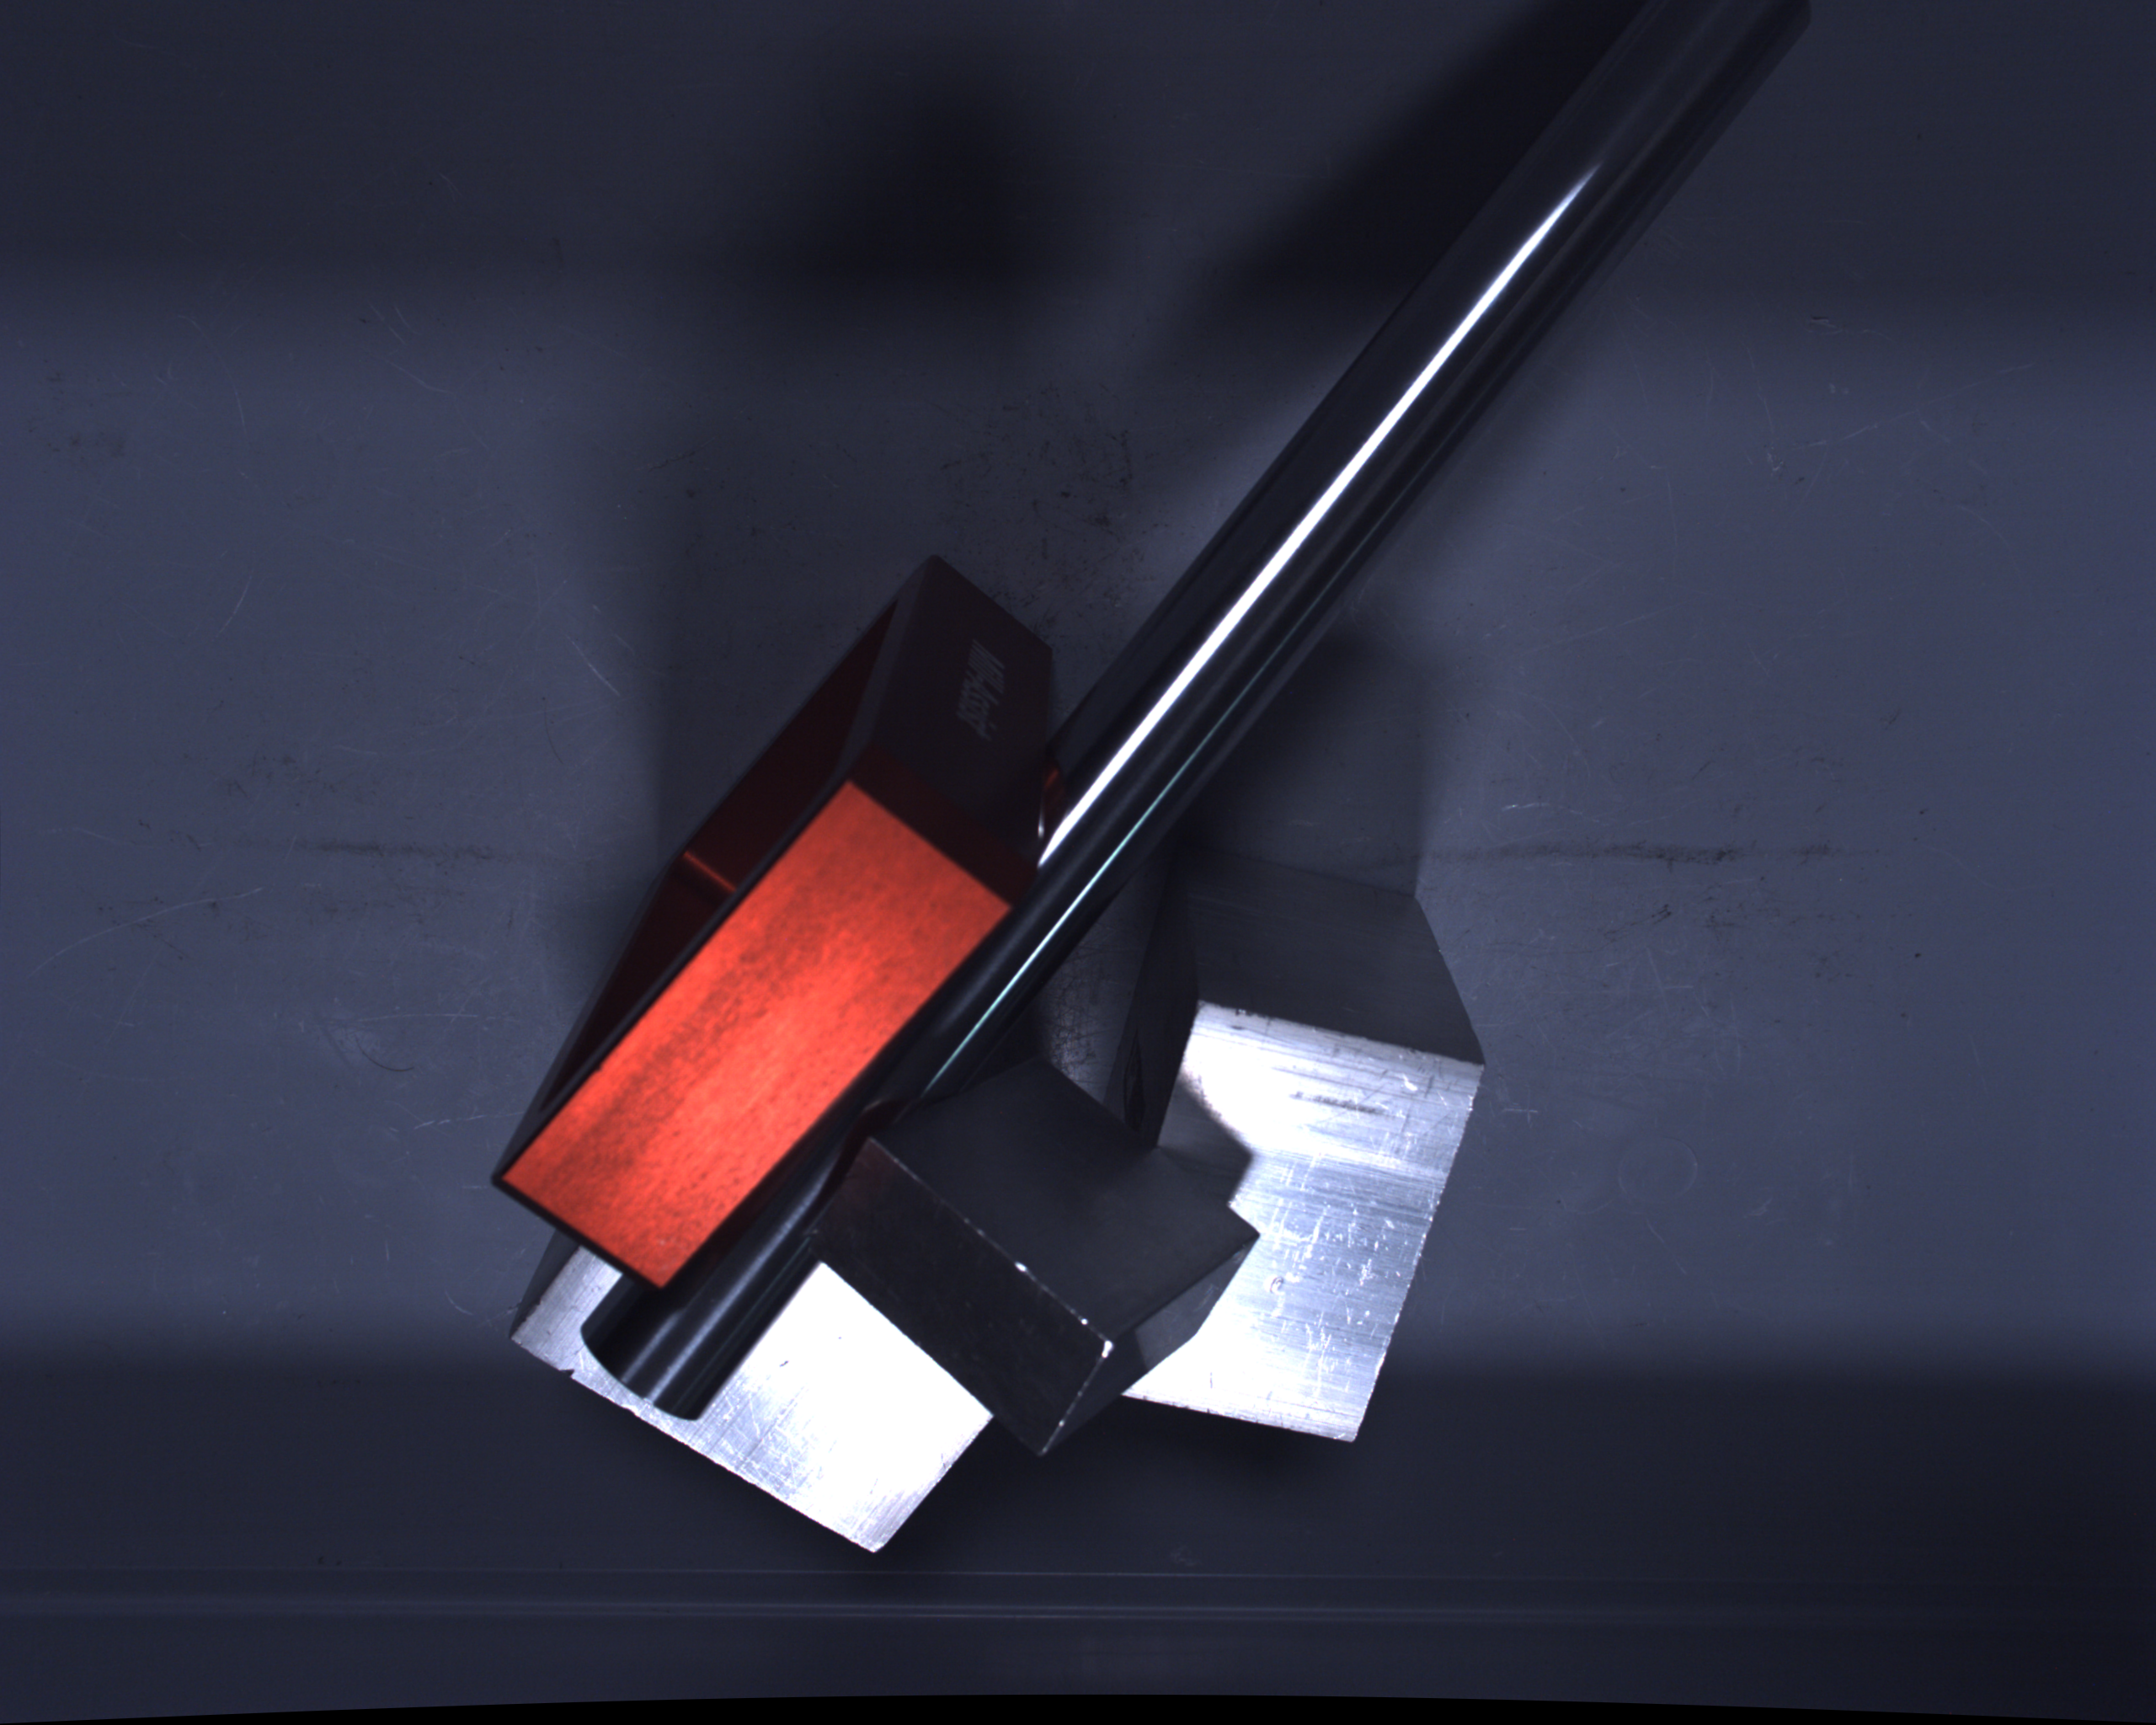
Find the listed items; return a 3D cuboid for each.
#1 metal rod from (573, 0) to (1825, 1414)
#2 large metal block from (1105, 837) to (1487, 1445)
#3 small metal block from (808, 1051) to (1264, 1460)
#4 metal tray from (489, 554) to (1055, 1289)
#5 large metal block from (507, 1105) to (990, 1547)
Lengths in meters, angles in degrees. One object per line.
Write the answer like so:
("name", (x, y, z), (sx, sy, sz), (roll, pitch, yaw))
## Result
("metal rod", (0.022, -0.033, 0.350), (0.025, 0.025, 0.300), (40, 88, -14))
("large metal block", (0.035, 0.050, 0.401), (0.050, 0.080, 0.079), (13, 110, -5))
("small metal block", (-0.006, 0.062, 0.340), (0.050, 0.050, 0.025), (38, 117, 19))
("metal tray", (-0.045, 0.003, 0.354), (0.030, 0.130, 0.090), (39, 106, -12))
("large metal block", (-0.054, 0.072, 0.408), (0.080, 0.080, 0.050), (35, 106, -12))
